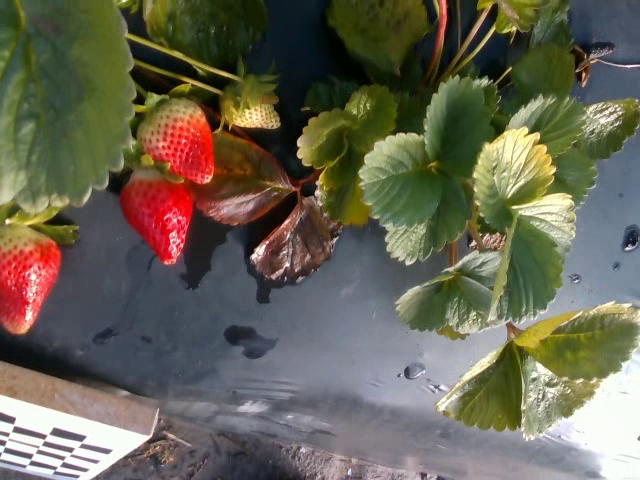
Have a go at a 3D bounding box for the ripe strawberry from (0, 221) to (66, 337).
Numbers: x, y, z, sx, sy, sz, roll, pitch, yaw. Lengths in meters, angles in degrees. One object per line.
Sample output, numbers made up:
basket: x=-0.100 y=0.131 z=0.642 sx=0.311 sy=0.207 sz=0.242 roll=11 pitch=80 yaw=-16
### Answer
ripe strawberry: x=-0.169 y=0.022 z=0.334 sx=0.050 sy=0.065 sz=0.049 roll=2 pitch=0 yaw=16

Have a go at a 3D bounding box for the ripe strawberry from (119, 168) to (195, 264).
ripe strawberry: x=-0.090 y=-0.011 z=0.336 sx=0.044 sy=0.055 sz=0.041 roll=-14 pitch=-2 yaw=34
